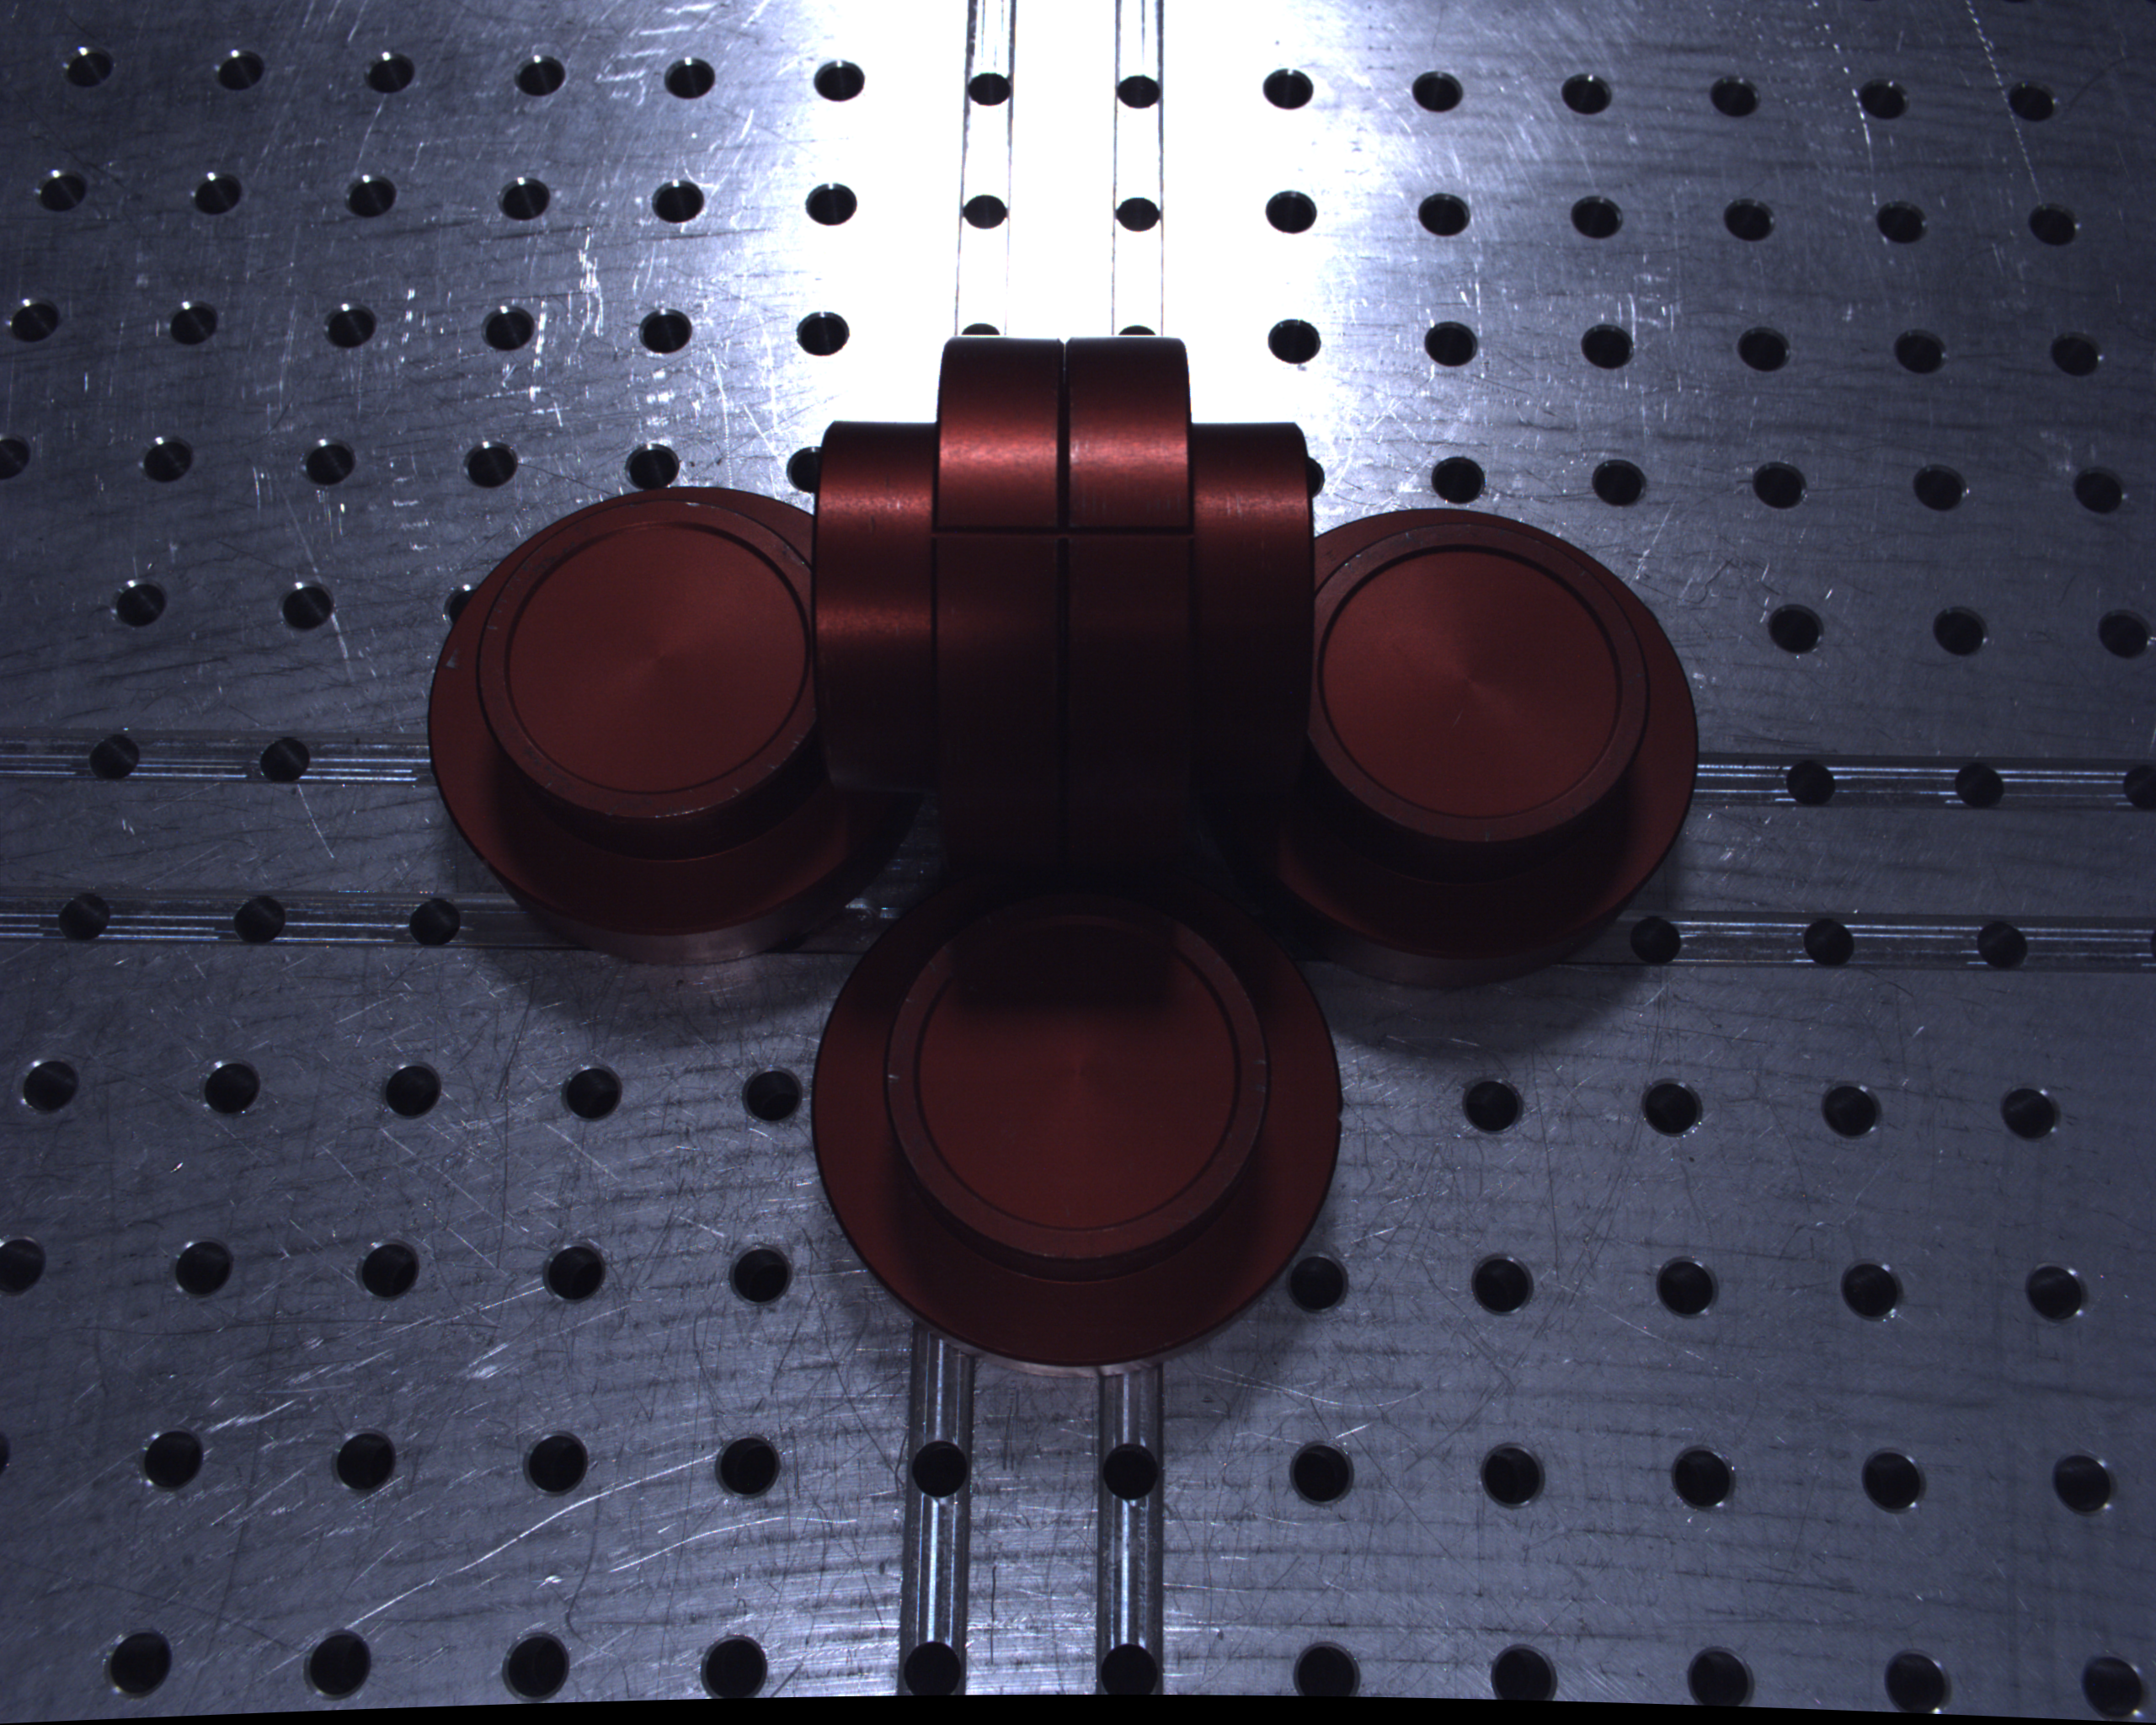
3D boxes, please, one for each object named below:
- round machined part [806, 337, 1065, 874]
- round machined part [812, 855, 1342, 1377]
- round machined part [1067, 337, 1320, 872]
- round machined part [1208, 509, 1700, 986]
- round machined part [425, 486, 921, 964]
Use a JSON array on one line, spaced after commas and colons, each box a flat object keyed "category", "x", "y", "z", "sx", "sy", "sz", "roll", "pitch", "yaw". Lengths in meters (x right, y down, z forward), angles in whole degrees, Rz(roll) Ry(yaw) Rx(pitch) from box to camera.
[{"category": "round machined part", "x": -0.024, "y": -0.047, "z": 0.383, "sx": 0.042, "sy": 0.098, "sz": 0.098, "roll": 1, "pitch": 70, "yaw": 0}, {"category": "round machined part", "x": 0.000, "y": 0.044, "z": 0.386, "sx": 0.099, "sy": 0.042, "sz": 0.098, "roll": 0, "pitch": 70, "yaw": -1}, {"category": "round machined part", "x": 0.020, "y": -0.047, "z": 0.385, "sx": 0.042, "sy": 0.098, "sz": 0.098, "roll": -1, "pitch": 70, "yaw": -1}, {"category": "round machined part", "x": 0.074, "y": -0.028, "z": 0.413, "sx": 0.099, "sy": 0.042, "sz": 0.098, "roll": 0, "pitch": 70, "yaw": -1}, {"category": "round machined part", "x": -0.080, "y": -0.032, "z": 0.413, "sx": 0.099, "sy": 0.042, "sz": 0.098, "roll": 0, "pitch": 70, "yaw": -1}]
